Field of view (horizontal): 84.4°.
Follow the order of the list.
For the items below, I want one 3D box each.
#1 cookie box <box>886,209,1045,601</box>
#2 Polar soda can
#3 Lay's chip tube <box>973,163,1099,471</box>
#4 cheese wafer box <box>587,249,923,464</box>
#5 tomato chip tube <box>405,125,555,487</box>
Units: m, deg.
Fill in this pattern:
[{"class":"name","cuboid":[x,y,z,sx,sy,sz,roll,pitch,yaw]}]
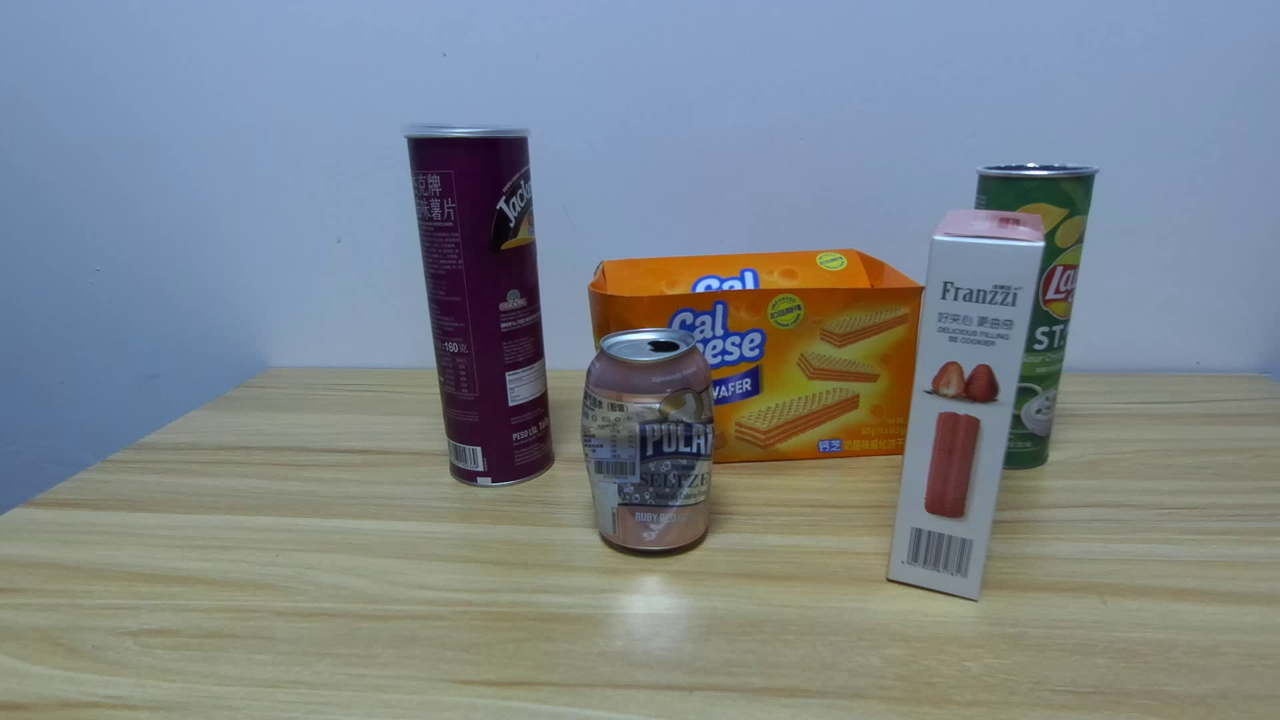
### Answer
[{"class":"cookie box","cuboid":[0.170,0.021,0.374,0.048,0.184,0.096,9,20,23]},{"class":"Polar soda can","cuboid":[0.009,0.047,0.407,0.074,0.122,0.067,14,27,39]},{"class":"Lay's chip tube","cuboid":[0.259,-0.030,0.489,0.071,0.202,0.071,-1,19,1]},{"class":"cheese wafer box","cuboid":[0.079,-0.006,0.551,0.230,0.132,0.152,-1,20,-3]},{"class":"tomato chip tube","cuboid":[-0.106,-0.035,0.487,0.078,0.234,0.078,-2,17,1]}]
